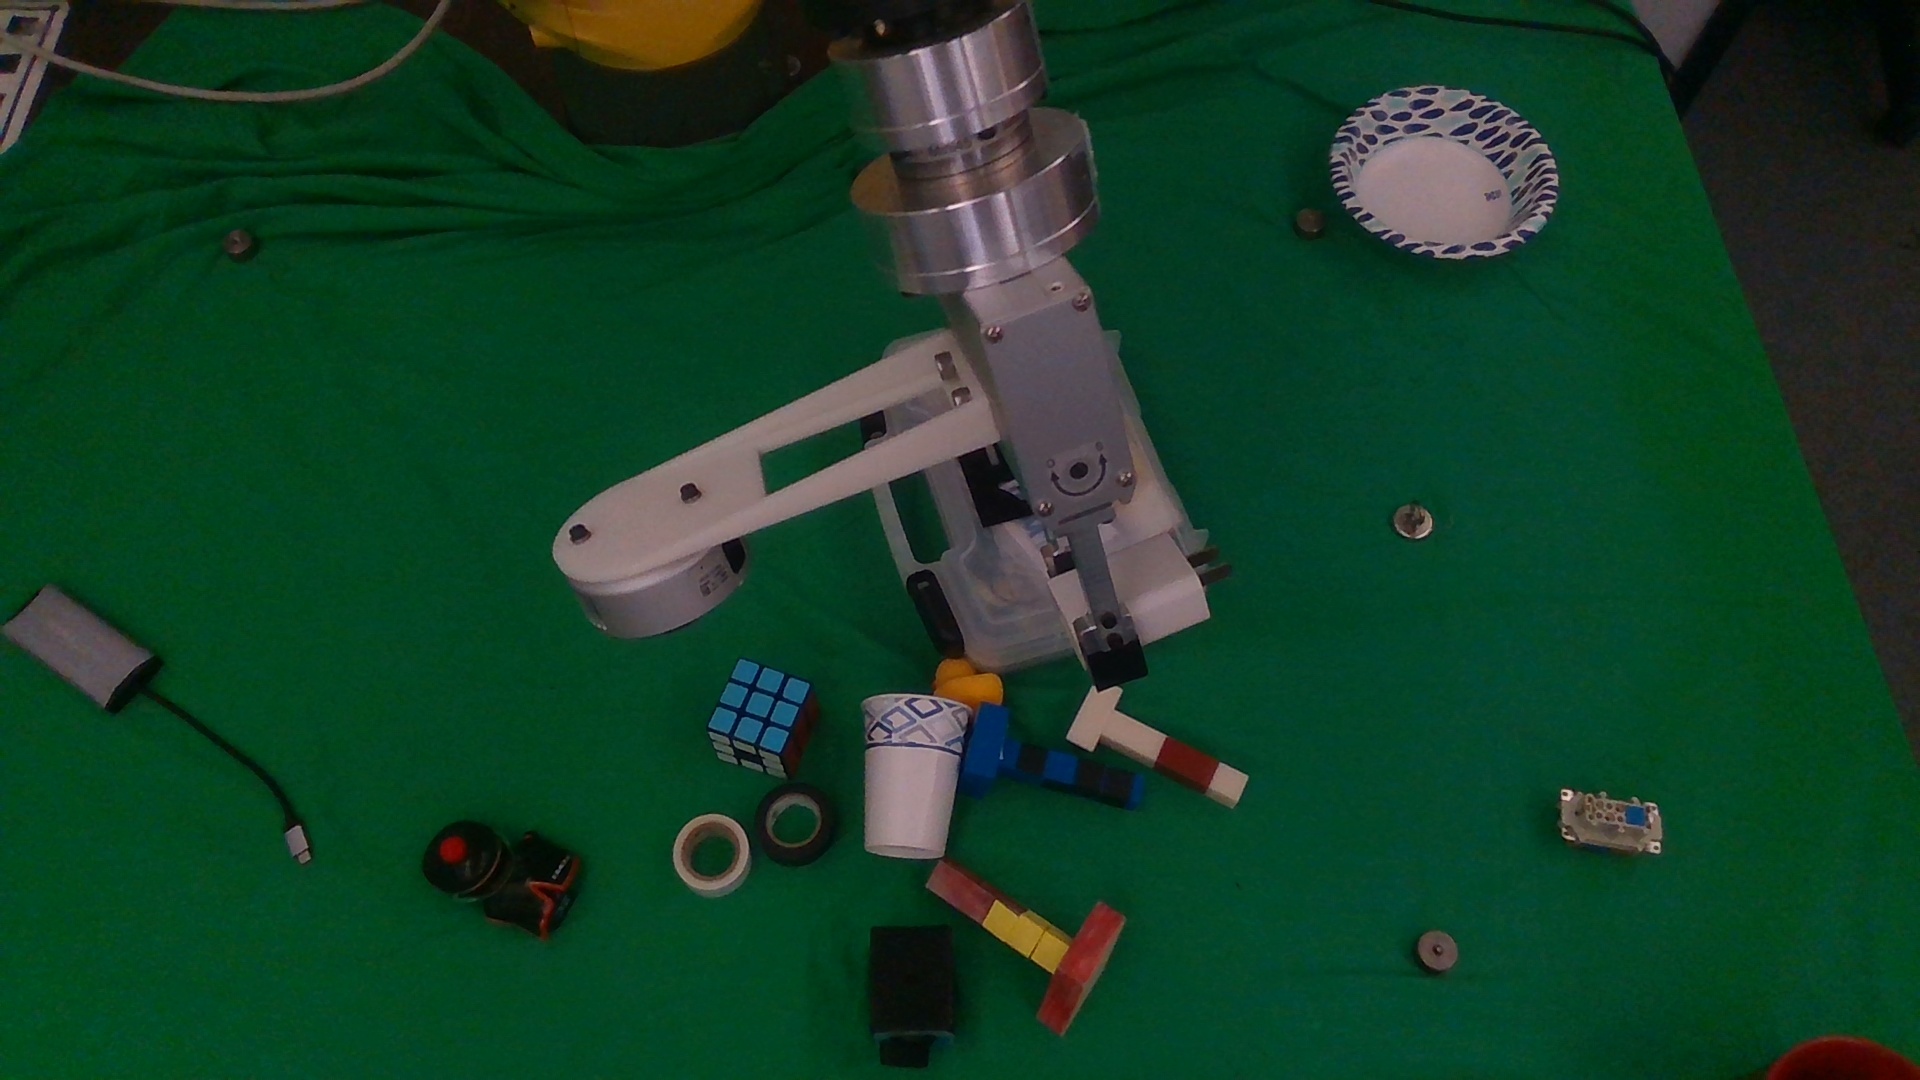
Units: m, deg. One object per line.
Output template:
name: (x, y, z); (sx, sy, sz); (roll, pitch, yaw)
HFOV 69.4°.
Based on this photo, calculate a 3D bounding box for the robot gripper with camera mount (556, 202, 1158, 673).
robot gripper with camera mount: (-0.035, 0.002, 0.491); (0.193, 0.158, 0.119); (-21, 34, -5)

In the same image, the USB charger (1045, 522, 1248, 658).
USB charger: (0.075, 0.016, 0.546); (0.075, 0.029, 0.045); (-22, 33, -5)
